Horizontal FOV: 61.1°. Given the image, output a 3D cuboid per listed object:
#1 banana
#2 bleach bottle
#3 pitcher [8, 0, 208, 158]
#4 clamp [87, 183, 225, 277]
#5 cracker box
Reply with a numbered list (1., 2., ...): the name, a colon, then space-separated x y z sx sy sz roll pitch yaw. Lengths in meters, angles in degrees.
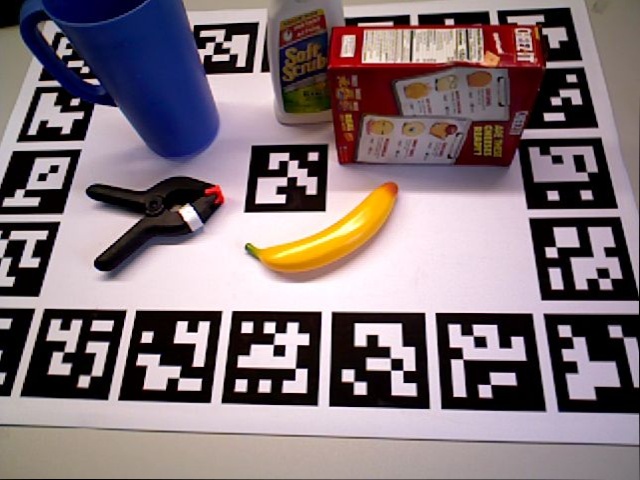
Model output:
1. banana: 0.022 -0.006 0.630 0.195 0.039 0.074 -31 63 -10
2. bleach bottle: -0.025 -0.233 0.627 0.102 0.254 0.067 -1 60 5
3. pitcher: -0.214 -0.204 0.610 0.187 0.247 0.132 -16 60 -7
4. clamp: -0.197 -0.027 0.657 0.164 0.037 0.120 -15 60 -4
5. cracker box: 0.128 -0.156 0.600 0.213 0.167 0.071 0 58 8
